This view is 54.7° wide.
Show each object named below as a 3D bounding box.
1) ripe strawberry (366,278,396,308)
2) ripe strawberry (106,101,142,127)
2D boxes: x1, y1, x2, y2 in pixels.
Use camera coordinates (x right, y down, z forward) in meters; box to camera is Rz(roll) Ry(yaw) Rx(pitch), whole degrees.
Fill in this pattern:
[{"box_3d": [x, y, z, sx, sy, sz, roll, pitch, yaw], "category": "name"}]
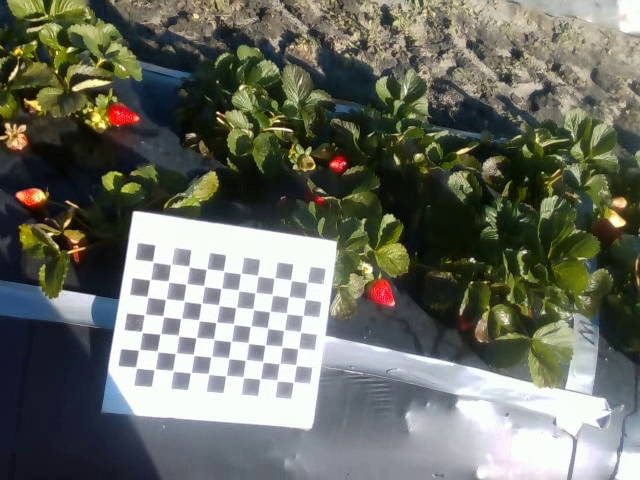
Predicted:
[{"box_3d": [0.099, 0.088, 0.967, 0.048, 0.055, 0.029, -38, 4, -12], "category": "ripe strawberry"}, {"box_3d": [-0.344, -0.218, 1.073, 0.064, 0.050, 0.052, 14, -7, -1], "category": "ripe strawberry"}]
